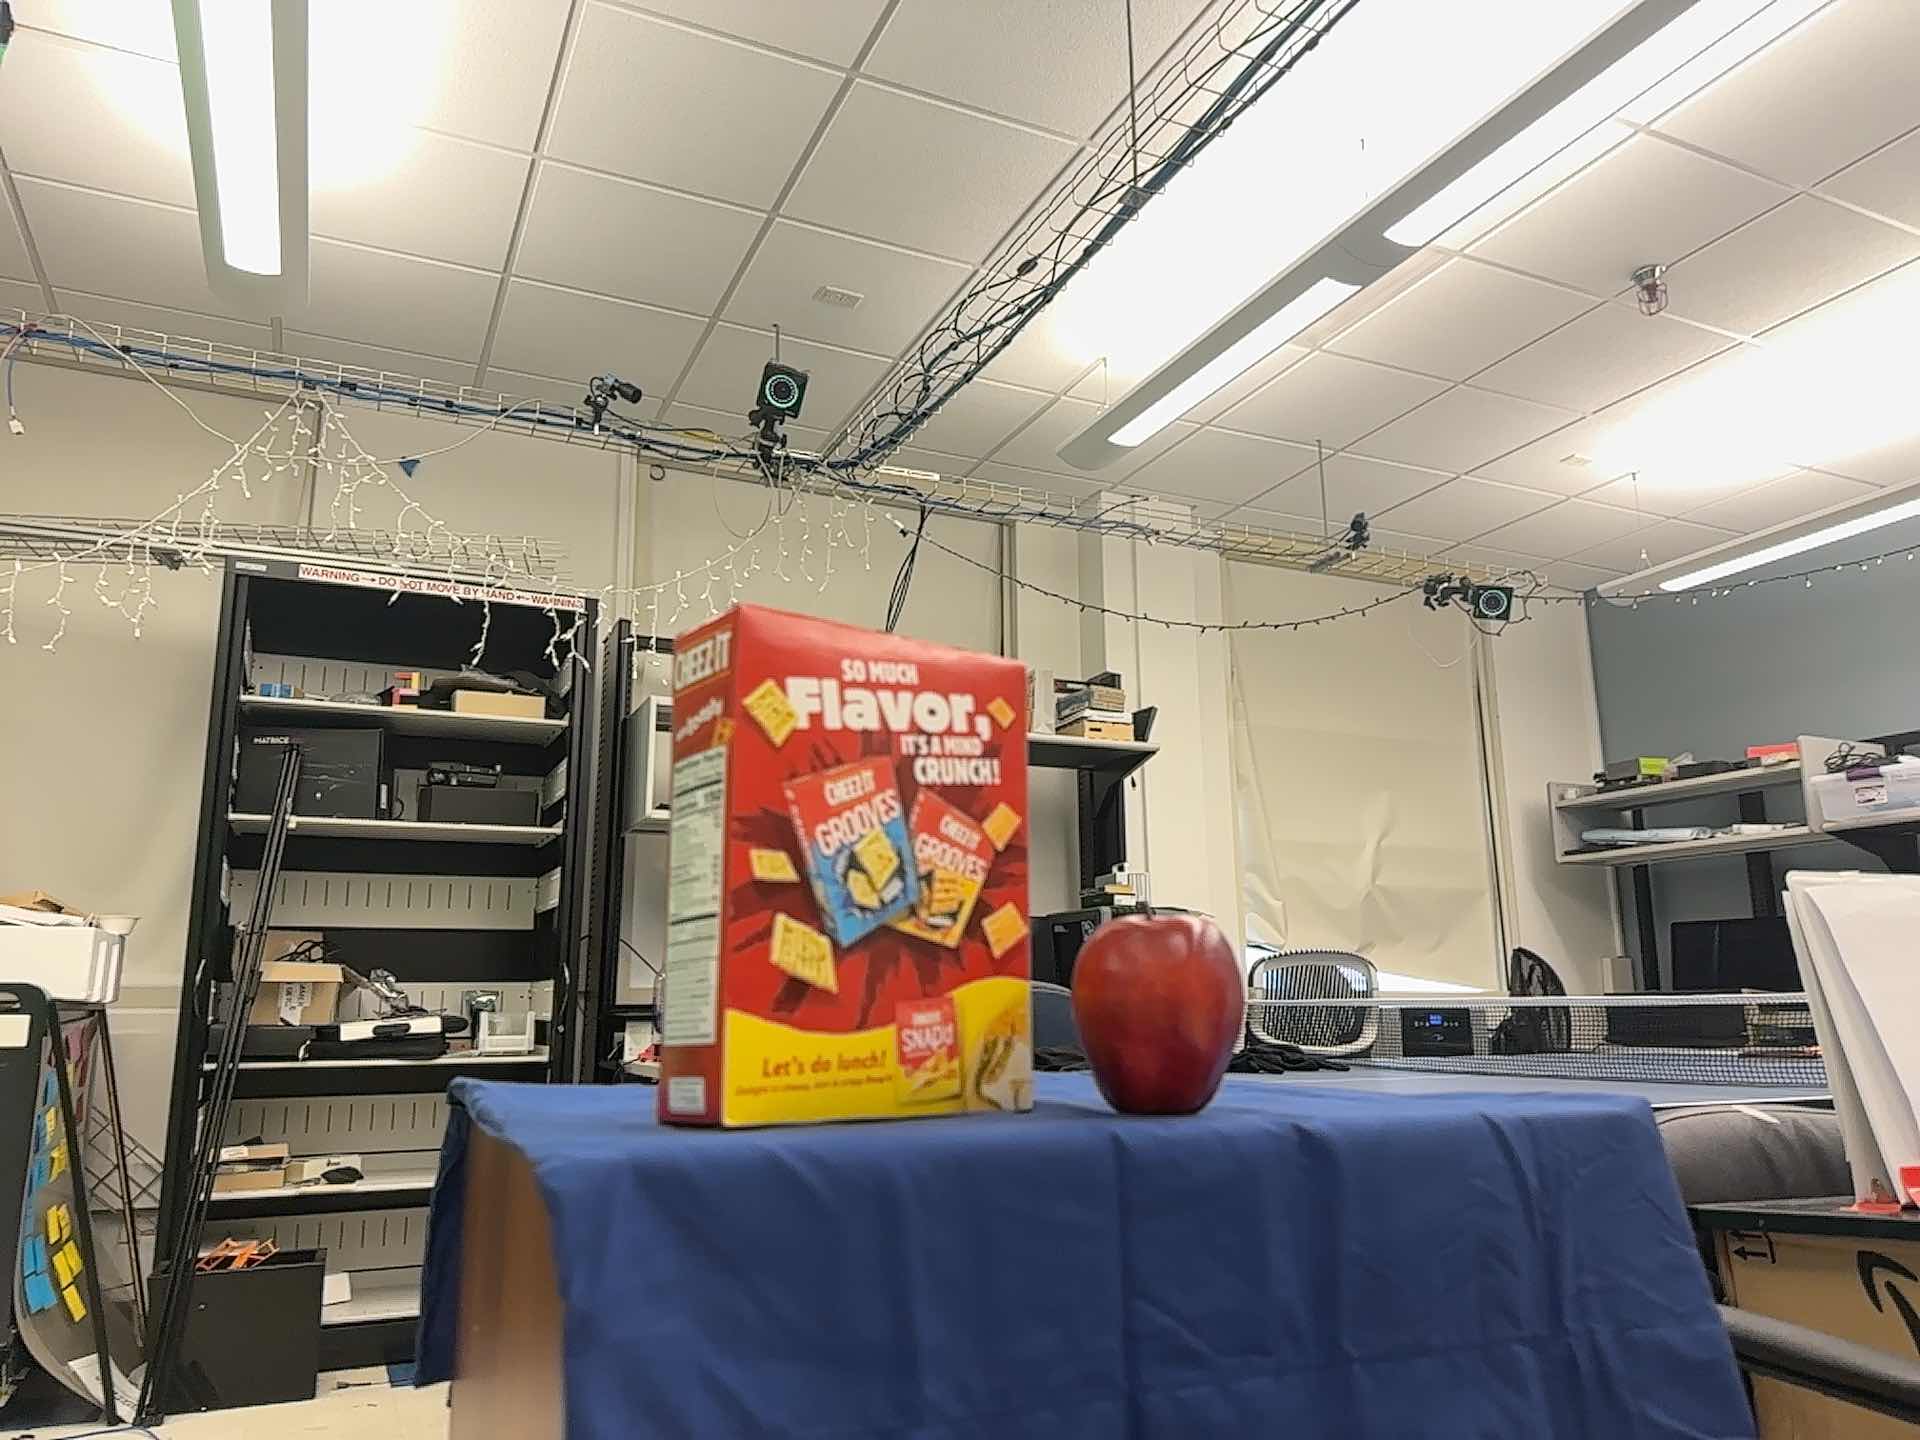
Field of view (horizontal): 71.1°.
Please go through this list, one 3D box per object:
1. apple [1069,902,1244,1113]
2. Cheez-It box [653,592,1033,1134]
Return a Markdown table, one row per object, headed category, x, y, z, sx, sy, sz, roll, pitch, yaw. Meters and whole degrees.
| category | x | y | z | sx | sy | sz | roll | pitch | yaw |
| --- | --- | --- | --- | --- | --- | --- | --- | --- | --- |
| apple | 0.089 | 0.130 | 0.614 | 0.079 | 0.093 | 0.079 | -1 | -10 | 0 |
| Cheez-It box | -0.048 | 0.068 | 0.610 | 0.159 | 0.214 | 0.062 | 10 | -15 | -39 |
